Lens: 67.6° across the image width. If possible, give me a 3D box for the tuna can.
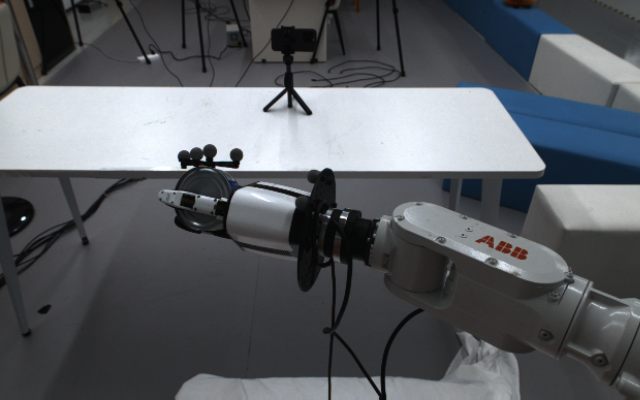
[{"bbox_3d":[-0.149,-0.001,0.647,0.085,0.085,0.034,15,0,18],"label":"tuna can"}]
